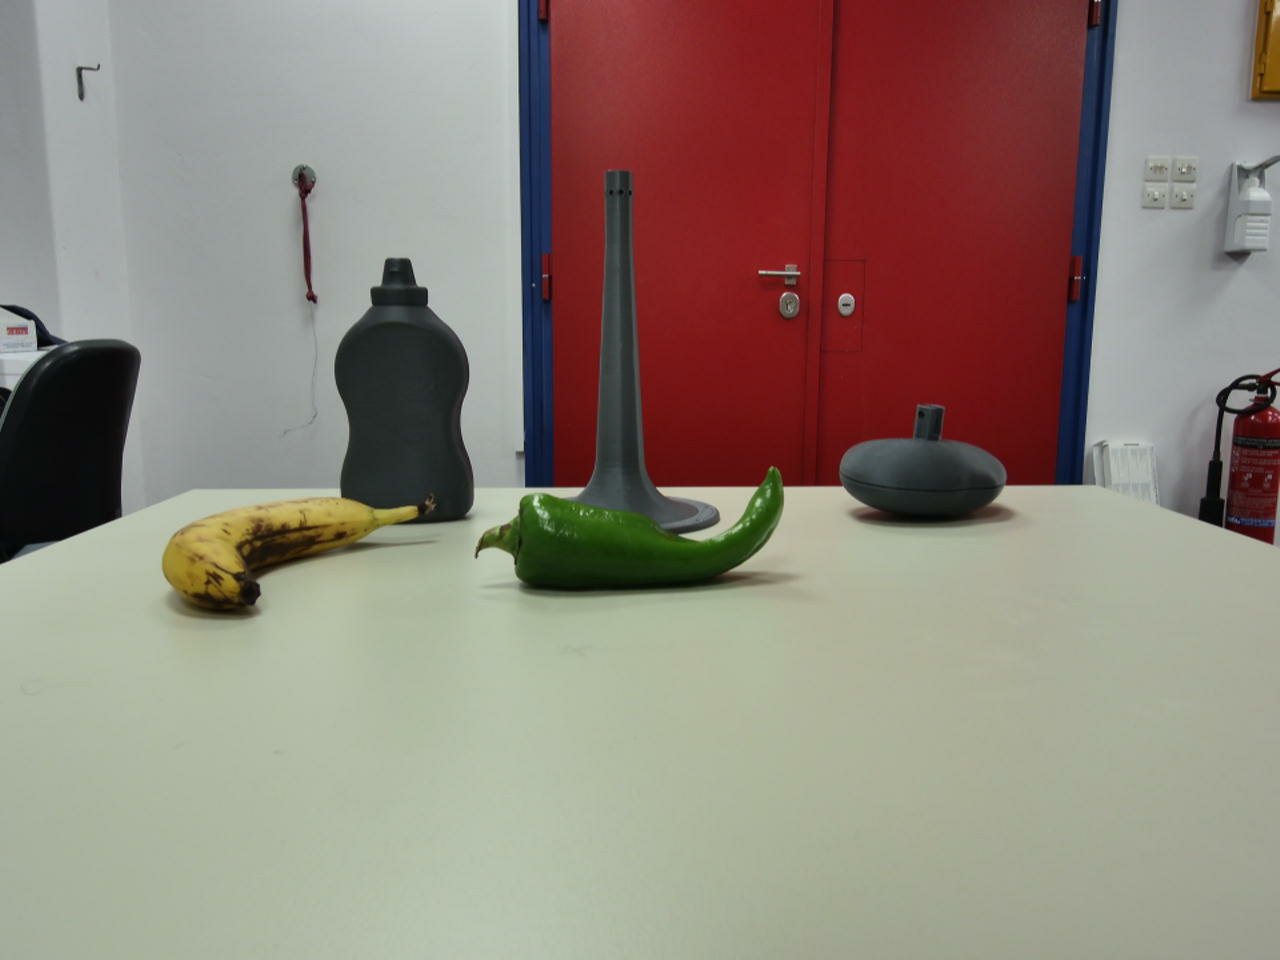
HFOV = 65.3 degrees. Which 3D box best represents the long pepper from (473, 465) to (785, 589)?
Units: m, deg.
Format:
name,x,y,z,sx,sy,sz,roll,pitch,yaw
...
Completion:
name,x,y,z,sx,sy,sz,roll,pitch,yaw
long pepper,-0.004,0.026,0.557,0.175,0.065,0.058,-1,7,-2
